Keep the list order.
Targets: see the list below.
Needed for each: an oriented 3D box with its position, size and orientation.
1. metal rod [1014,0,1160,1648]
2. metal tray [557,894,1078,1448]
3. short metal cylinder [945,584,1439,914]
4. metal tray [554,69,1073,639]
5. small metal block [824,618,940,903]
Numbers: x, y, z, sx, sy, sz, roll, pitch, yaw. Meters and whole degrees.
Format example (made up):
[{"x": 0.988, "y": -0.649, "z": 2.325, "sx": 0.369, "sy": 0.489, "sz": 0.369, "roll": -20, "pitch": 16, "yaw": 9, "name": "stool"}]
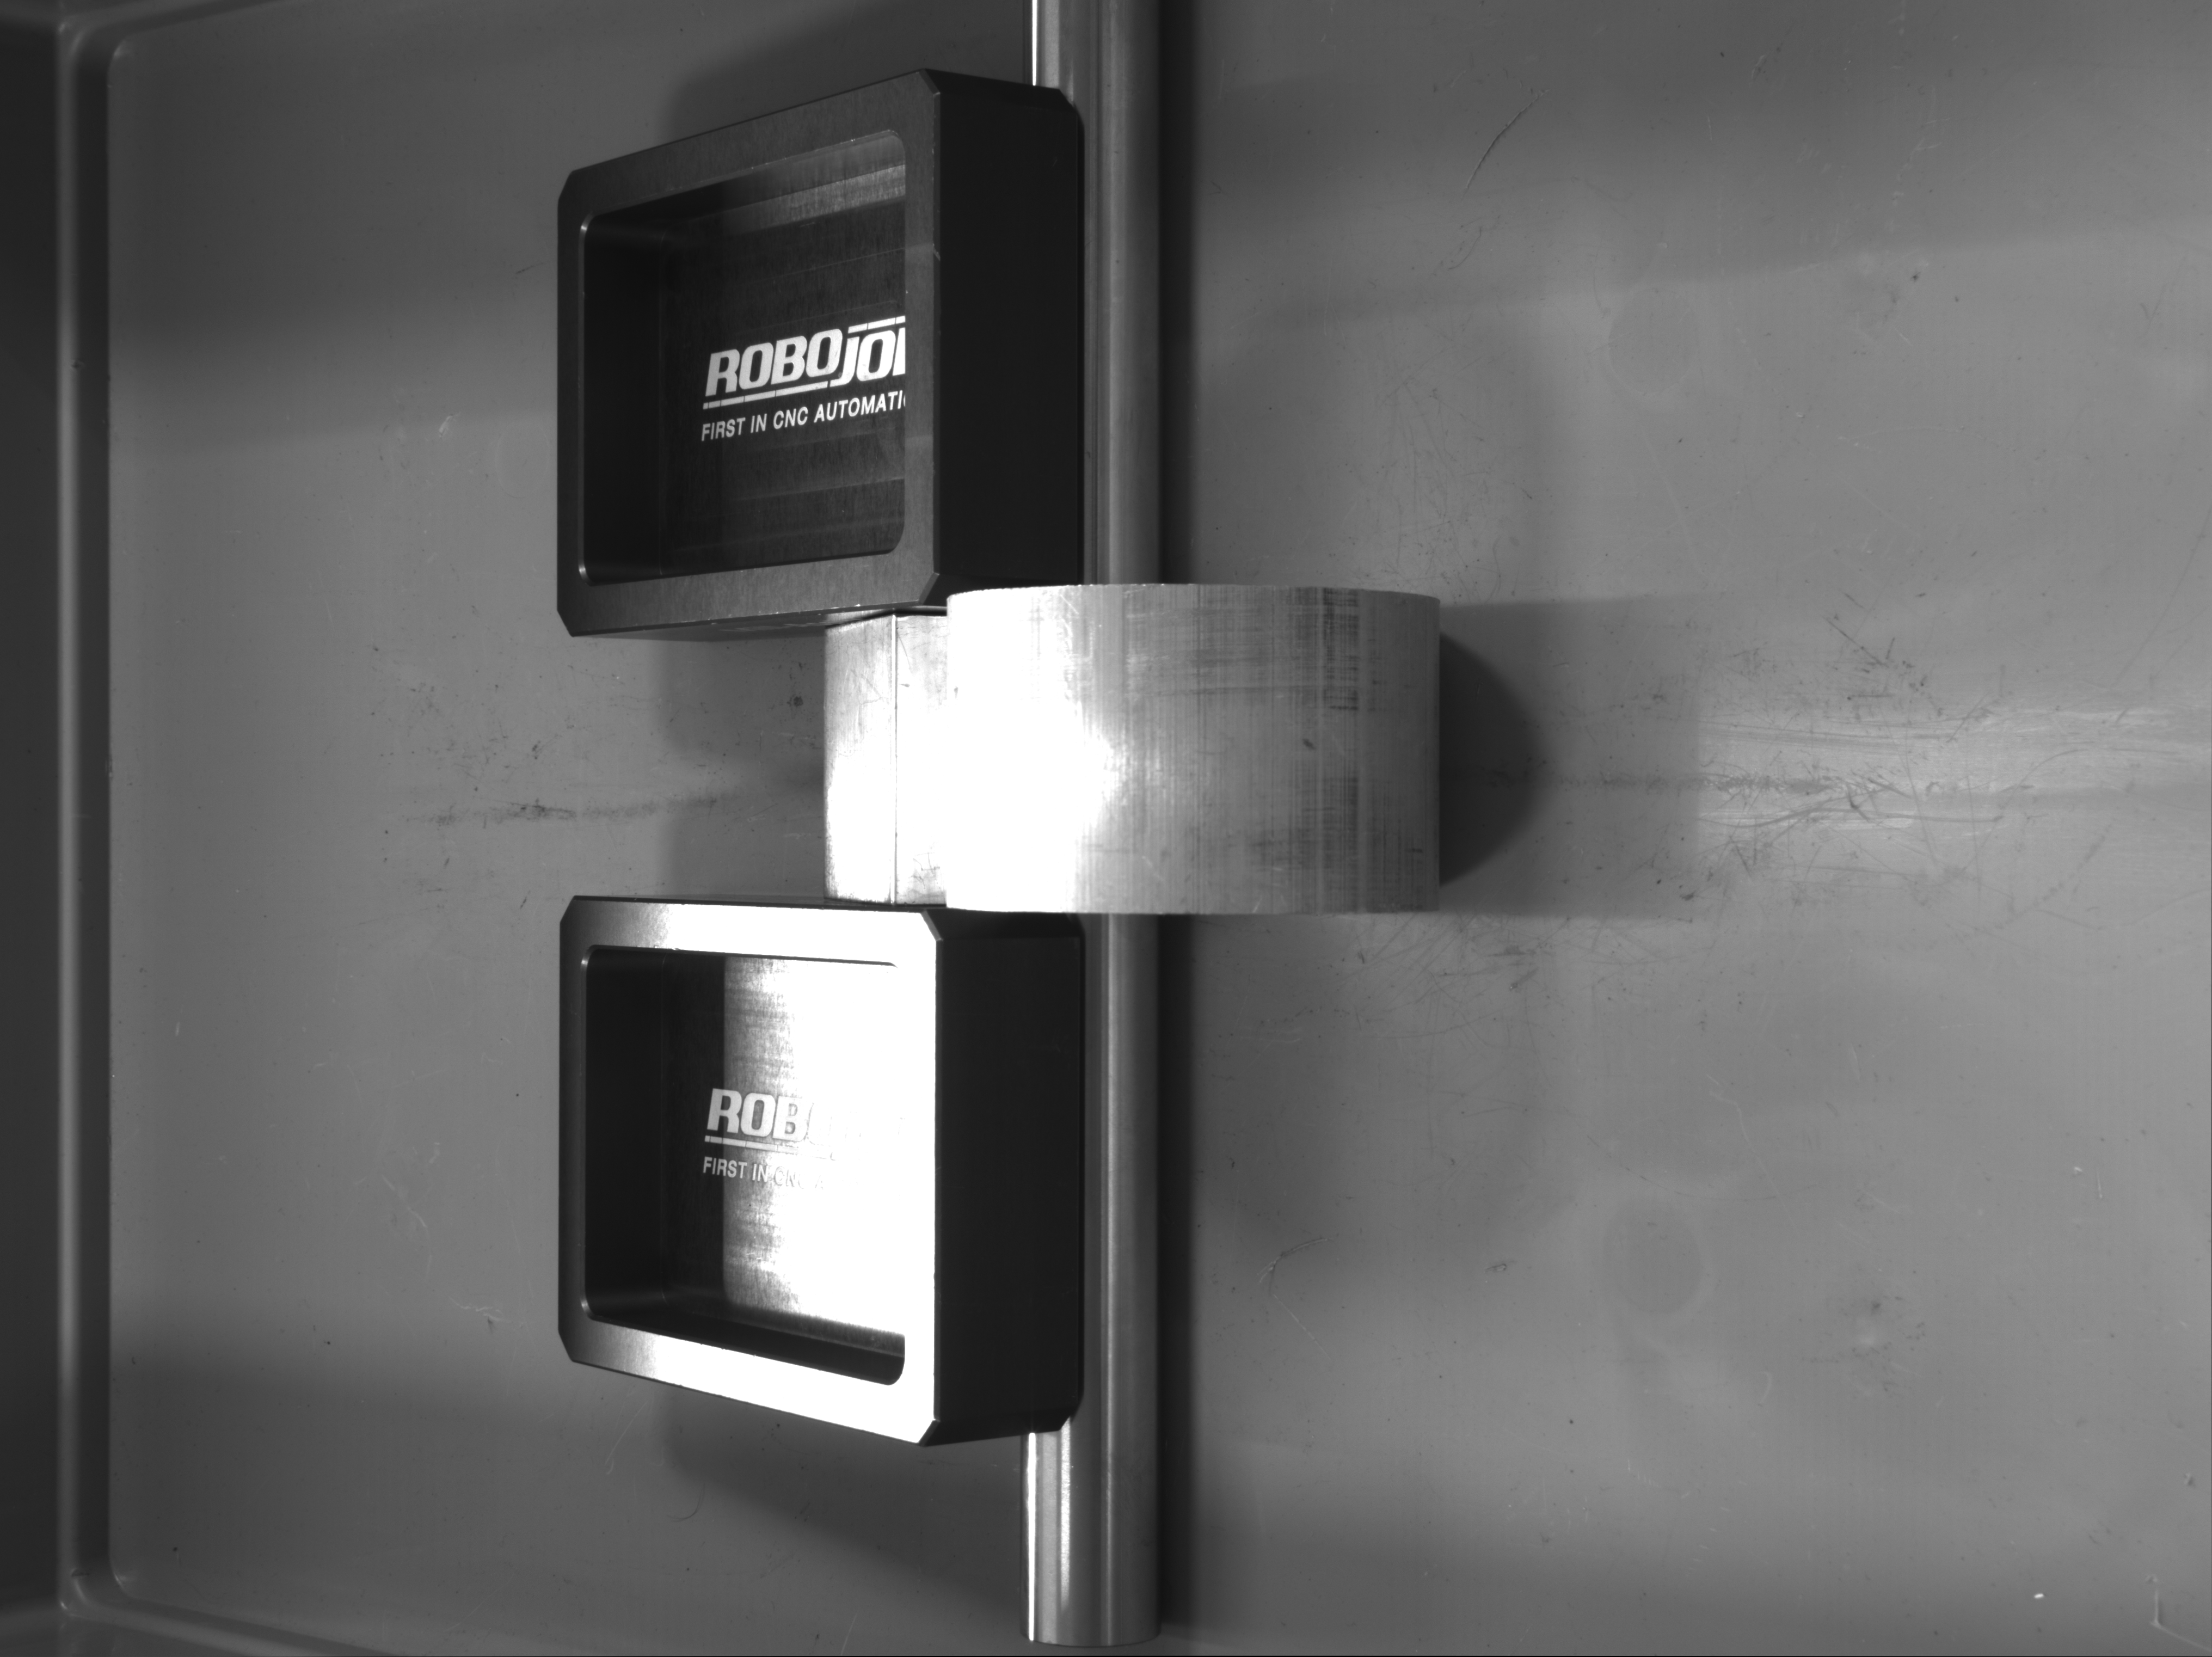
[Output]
[{"x": -0.003, "y": -0.009, "z": 0.646, "sx": 0.025, "sy": 0.025, "sz": 0.300, "roll": 0, "pitch": 90, "yaw": 40, "name": "metal rod"}, {"x": -0.056, "y": 0.058, "z": 0.669, "sx": 0.130, "sy": 0.030, "sz": 0.090, "roll": 1, "pitch": 90, "yaw": 53, "name": "metal tray"}, {"x": 0.014, "y": -0.012, "z": 0.596, "sx": 0.080, "sy": 0.080, "sz": 0.050, "roll": 0, "pitch": 90, "yaw": 40, "name": "short metal cylinder"}, {"x": -0.056, "y": -0.082, "z": 0.670, "sx": 0.130, "sy": 0.030, "sz": 0.090, "roll": 0, "pitch": 90, "yaw": 53, "name": "metal tray"}, {"x": -0.032, "y": -0.012, "z": 0.657, "sx": 0.050, "sy": 0.025, "sz": 0.050, "roll": -178, "pitch": 89, "yaw": -72, "name": "small metal block"}]
